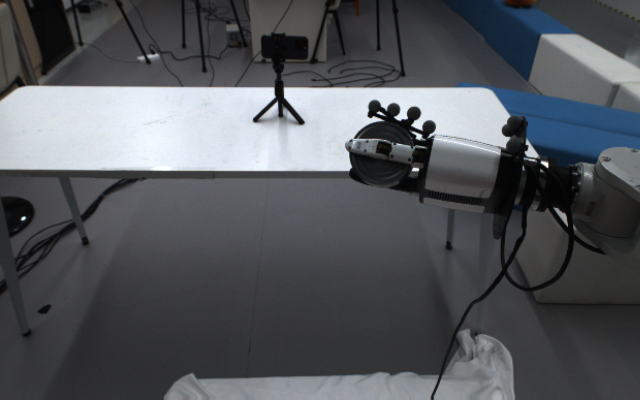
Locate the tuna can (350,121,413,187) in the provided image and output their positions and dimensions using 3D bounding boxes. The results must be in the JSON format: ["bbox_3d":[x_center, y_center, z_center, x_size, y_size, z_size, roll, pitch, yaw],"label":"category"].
[{"bbox_3d":[0.085,-0.062,0.650,0.085,0.085,0.034,13,-6,16],"label":"tuna can"}]
